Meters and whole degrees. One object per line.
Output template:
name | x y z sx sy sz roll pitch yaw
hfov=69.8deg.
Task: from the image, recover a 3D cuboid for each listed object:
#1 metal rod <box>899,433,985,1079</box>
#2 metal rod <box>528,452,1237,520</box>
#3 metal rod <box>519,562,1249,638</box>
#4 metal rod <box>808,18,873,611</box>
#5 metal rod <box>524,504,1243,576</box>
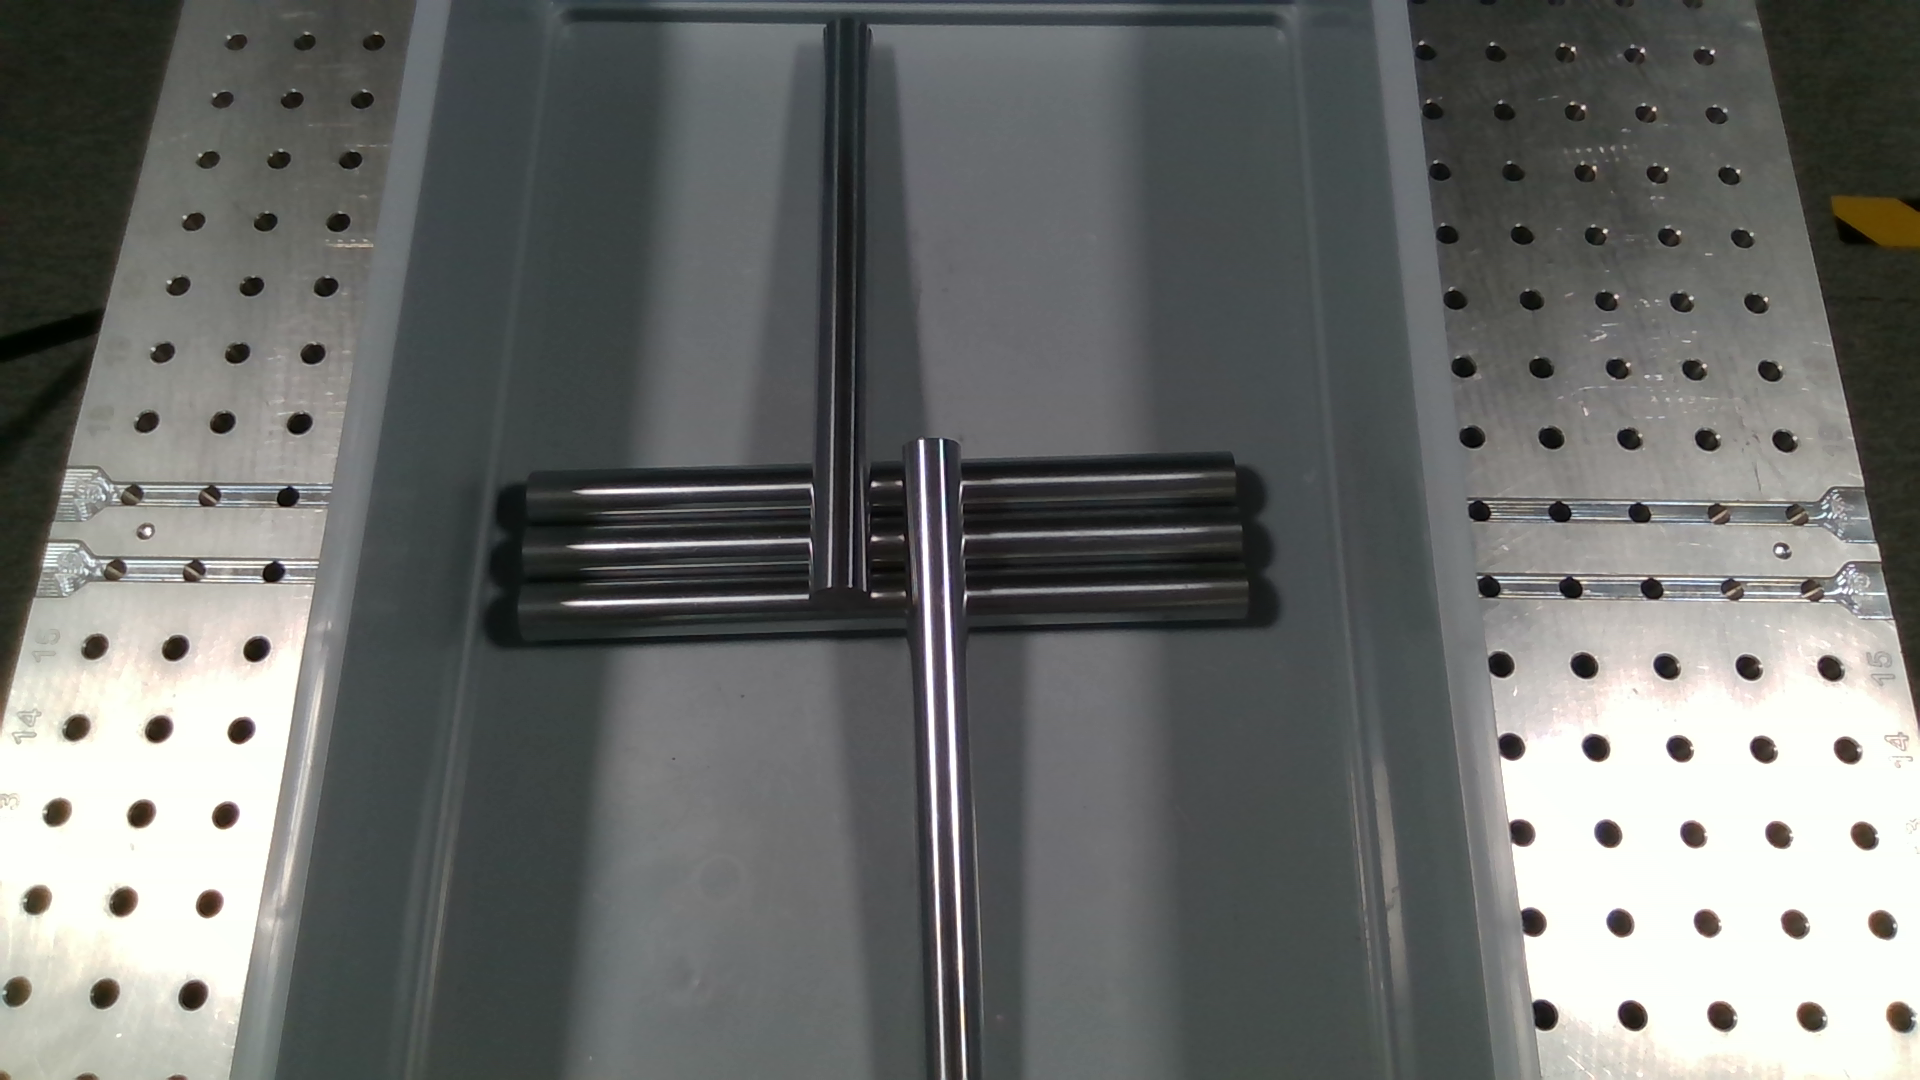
metal rod | -0.007 0.105 0.531 0.025 0.025 0.299 -2 77 -1
metal rod | -0.032 -0.022 0.595 0.300 0.025 0.025 -2 70 -1
metal rod | -0.031 0.025 0.578 0.300 0.025 0.025 -2 70 -1
metal rod | -0.051 -0.111 0.610 0.025 0.025 0.299 -1 64 -1
metal rod | -0.032 0.001 0.587 0.300 0.025 0.025 -2 70 -1
